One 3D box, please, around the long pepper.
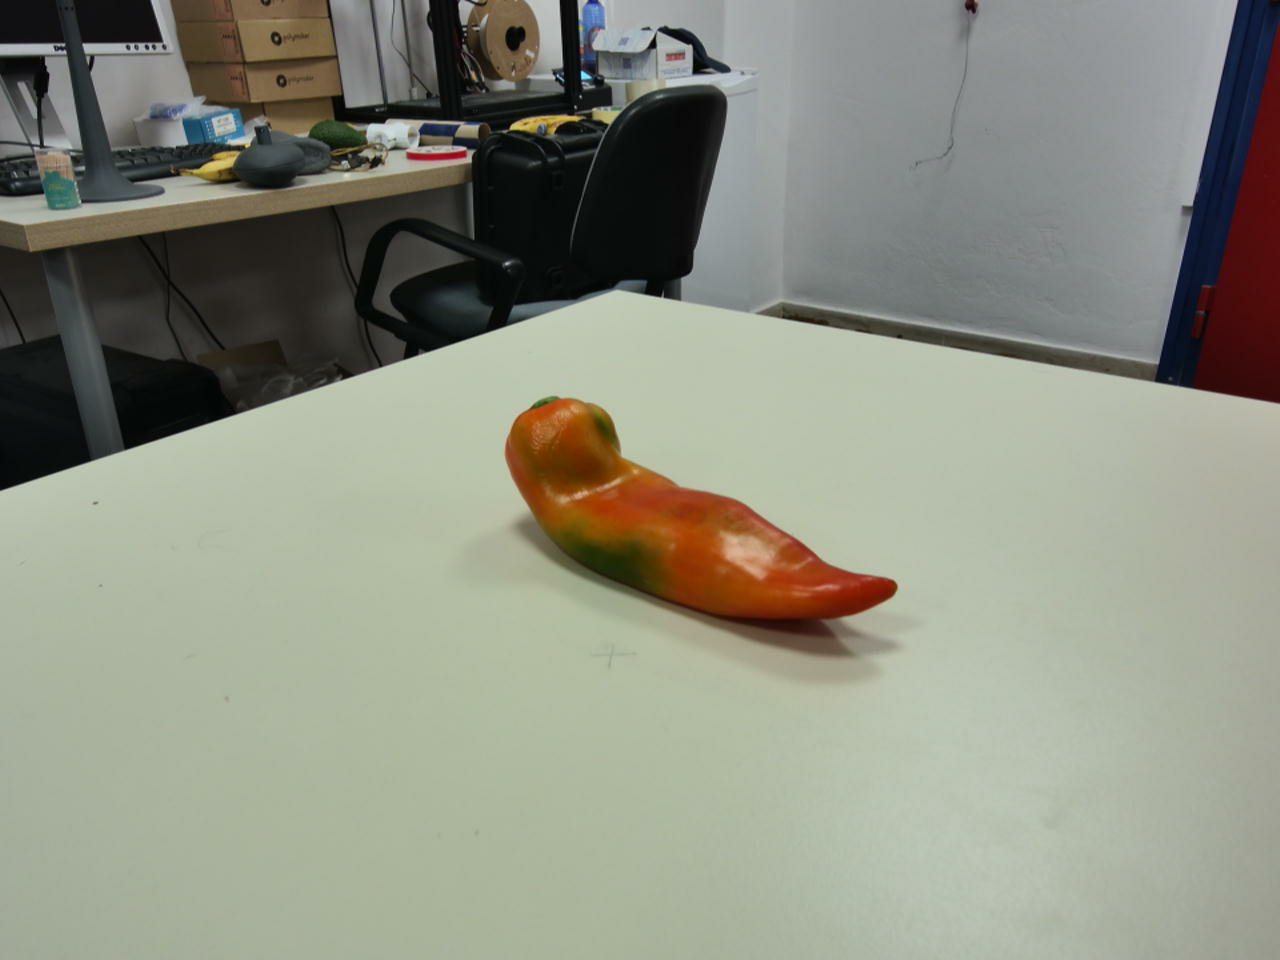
[{"bbox_3d":[0.017,0.012,0.430,0.199,0.065,0.066,20,30,40],"label":"long pepper"}]
